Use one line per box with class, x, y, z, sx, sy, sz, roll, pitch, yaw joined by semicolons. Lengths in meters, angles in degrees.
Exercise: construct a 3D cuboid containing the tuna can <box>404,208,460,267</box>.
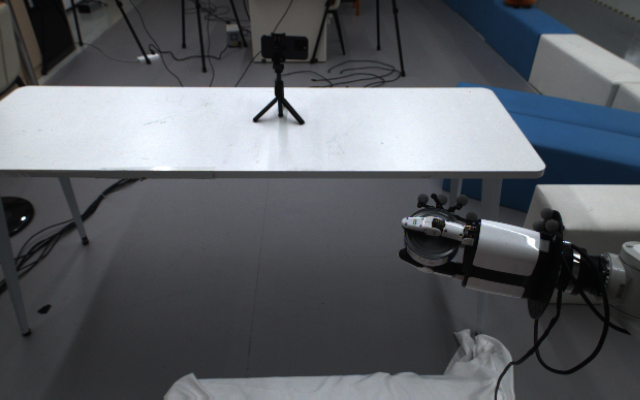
tuna can;0.171;0.054;0.735;0.085;0.034;0.085;-4;54;6
